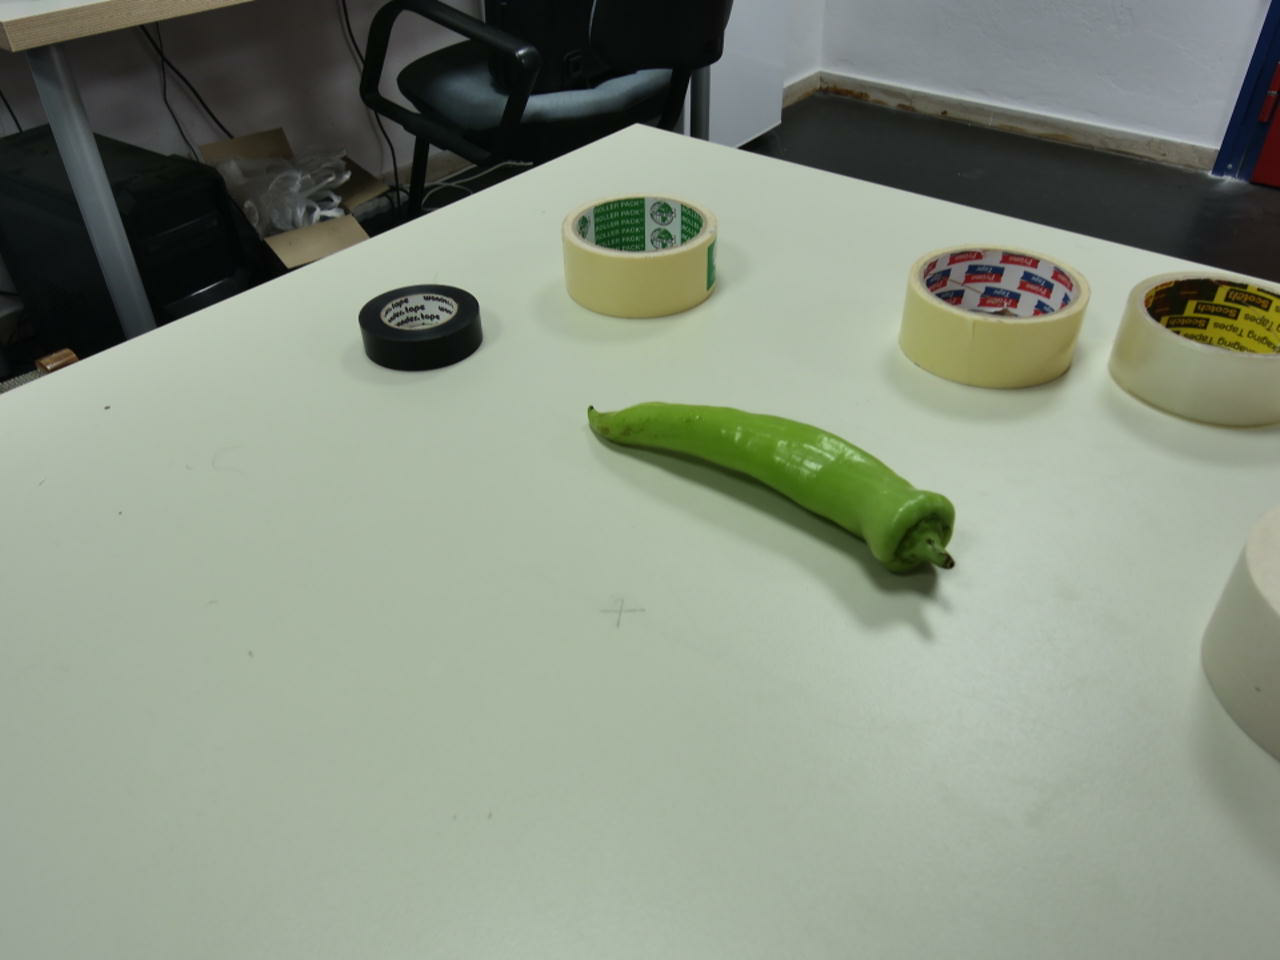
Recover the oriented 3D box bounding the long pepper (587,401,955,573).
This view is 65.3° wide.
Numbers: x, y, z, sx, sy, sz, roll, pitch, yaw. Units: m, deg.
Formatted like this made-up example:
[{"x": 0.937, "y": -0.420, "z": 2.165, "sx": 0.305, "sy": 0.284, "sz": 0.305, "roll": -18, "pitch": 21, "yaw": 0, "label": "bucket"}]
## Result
[{"x": 0.055, "y": -0.010, "z": 0.437, "sx": 0.197, "sy": 0.038, "sz": 0.046, "roll": 28, "pitch": 45, "yaw": 33, "label": "long pepper"}]
